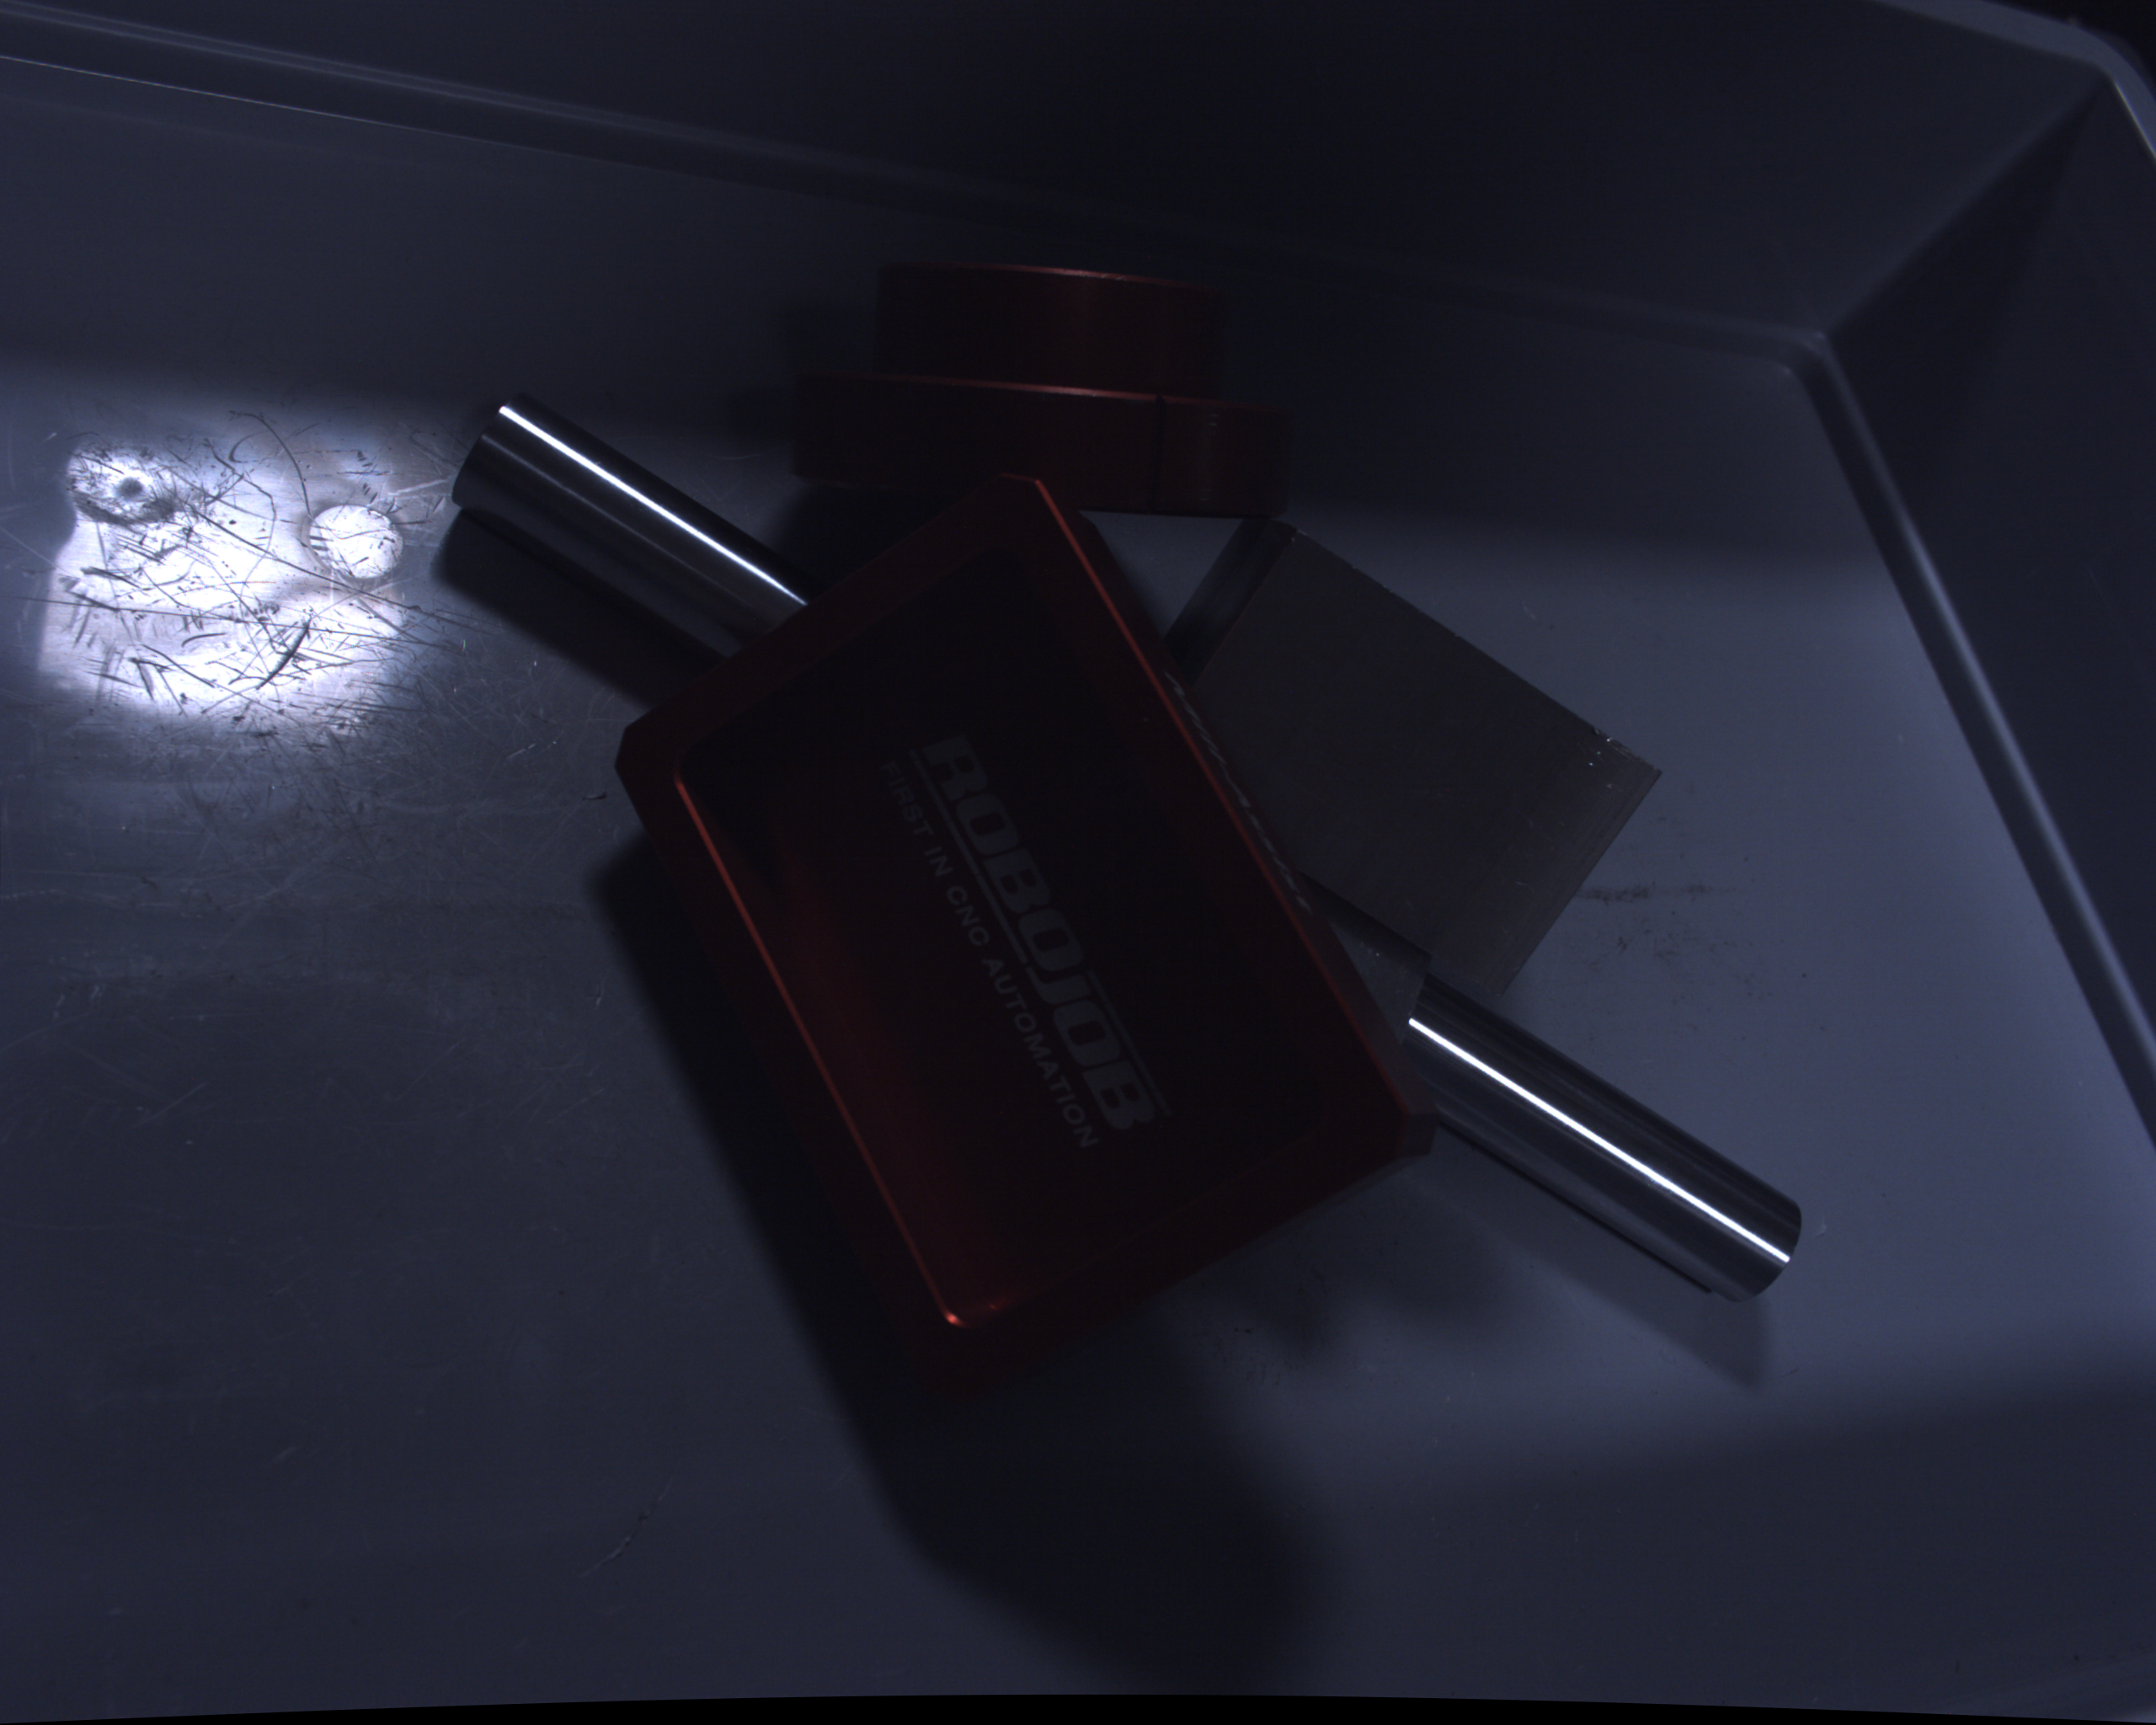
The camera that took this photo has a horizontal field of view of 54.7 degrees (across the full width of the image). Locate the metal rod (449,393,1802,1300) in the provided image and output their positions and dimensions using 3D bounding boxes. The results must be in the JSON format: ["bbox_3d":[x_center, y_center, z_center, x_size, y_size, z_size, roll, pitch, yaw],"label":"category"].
[{"bbox_3d":[0.015,0.001,0.413,0.301,0.025,0.025,32,51,-8],"label":"metal rod"}]

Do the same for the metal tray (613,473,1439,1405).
[{"bbox_3d":[-0.011,0.012,0.352,0.130,0.090,0.030,61,13,15],"label":"metal tray"}]

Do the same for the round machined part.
[{"bbox_3d":[-0.006,-0.093,0.410,0.099,0.098,0.042,-2,103,-30],"label":"round machined part"}]

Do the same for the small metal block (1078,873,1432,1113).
[{"bbox_3d":[0.030,0.024,0.390,0.050,0.050,0.025,33,51,-7],"label":"small metal block"}]

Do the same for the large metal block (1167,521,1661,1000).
[{"bbox_3d":[0.055,-0.024,0.409,0.080,0.050,0.080,32,9,-8],"label":"large metal block"}]
